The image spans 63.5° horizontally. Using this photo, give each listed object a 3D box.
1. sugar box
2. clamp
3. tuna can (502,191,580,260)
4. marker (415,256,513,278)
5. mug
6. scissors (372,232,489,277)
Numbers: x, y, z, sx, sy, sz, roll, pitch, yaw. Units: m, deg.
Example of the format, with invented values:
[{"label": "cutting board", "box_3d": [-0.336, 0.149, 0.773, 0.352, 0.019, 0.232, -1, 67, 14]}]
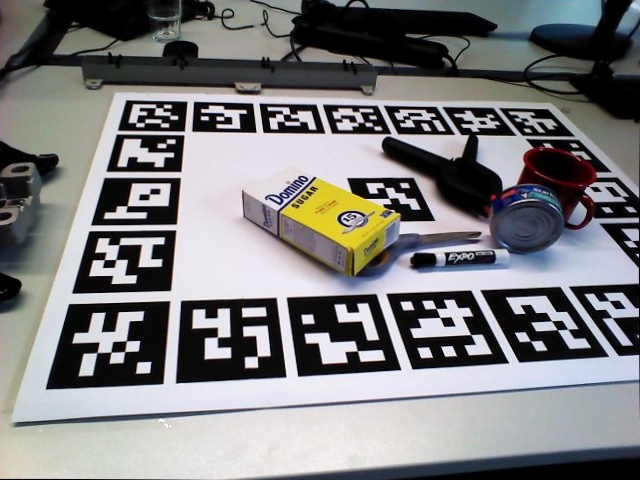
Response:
[{"label": "sugar box", "box_3d": [0.015, -0.023, 0.629, 0.092, 0.045, 0.177, -30, 48, -35]}, {"label": "clamp", "box_3d": [0.218, -0.086, 0.761, 0.165, 0.037, 0.202, -8, 45, -17]}, {"label": "tuna can", "box_3d": [0.271, -0.016, 0.637, 0.086, 0.086, 0.033, 11, 42, 4]}, {"label": "marker", "box_3d": [0.172, 0.032, 0.618, 0.121, 0.020, 0.019, -3, 44, -11]}, {"label": "mug", "box_3d": [0.323, -0.048, 0.689, 0.093, 0.082, 0.117, -21, 46, -29]}, {"label": "scissors", "box_3d": [0.122, 0.003, 0.640, 0.202, 0.016, 0.087, -7, 40, -18]}]
